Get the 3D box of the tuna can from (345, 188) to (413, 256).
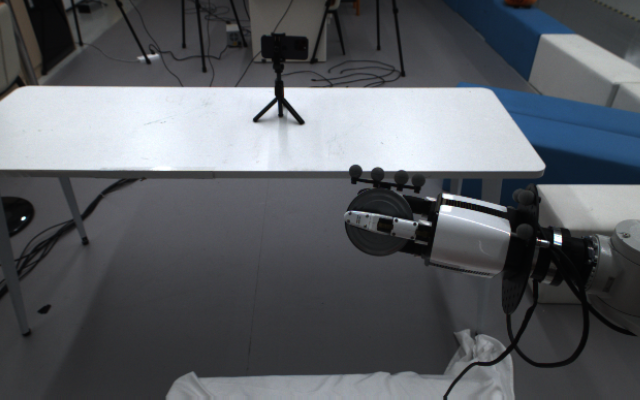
[{"bbox_3d":[0.079,0.023,0.615,0.085,0.085,0.034,11,3,12],"label":"tuna can"}]
